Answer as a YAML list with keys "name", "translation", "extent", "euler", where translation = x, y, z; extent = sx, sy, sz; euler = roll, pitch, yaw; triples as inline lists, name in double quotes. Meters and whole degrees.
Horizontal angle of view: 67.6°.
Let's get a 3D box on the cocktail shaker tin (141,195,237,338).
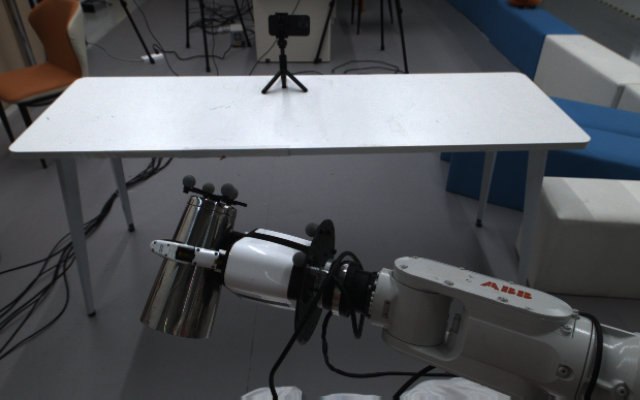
- name: "cocktail shaker tin"
  translation: [-0.166, 0.085, 0.639]
  extent: [0.093, 0.170, 0.093]
  euler: [15, -6, 2]
